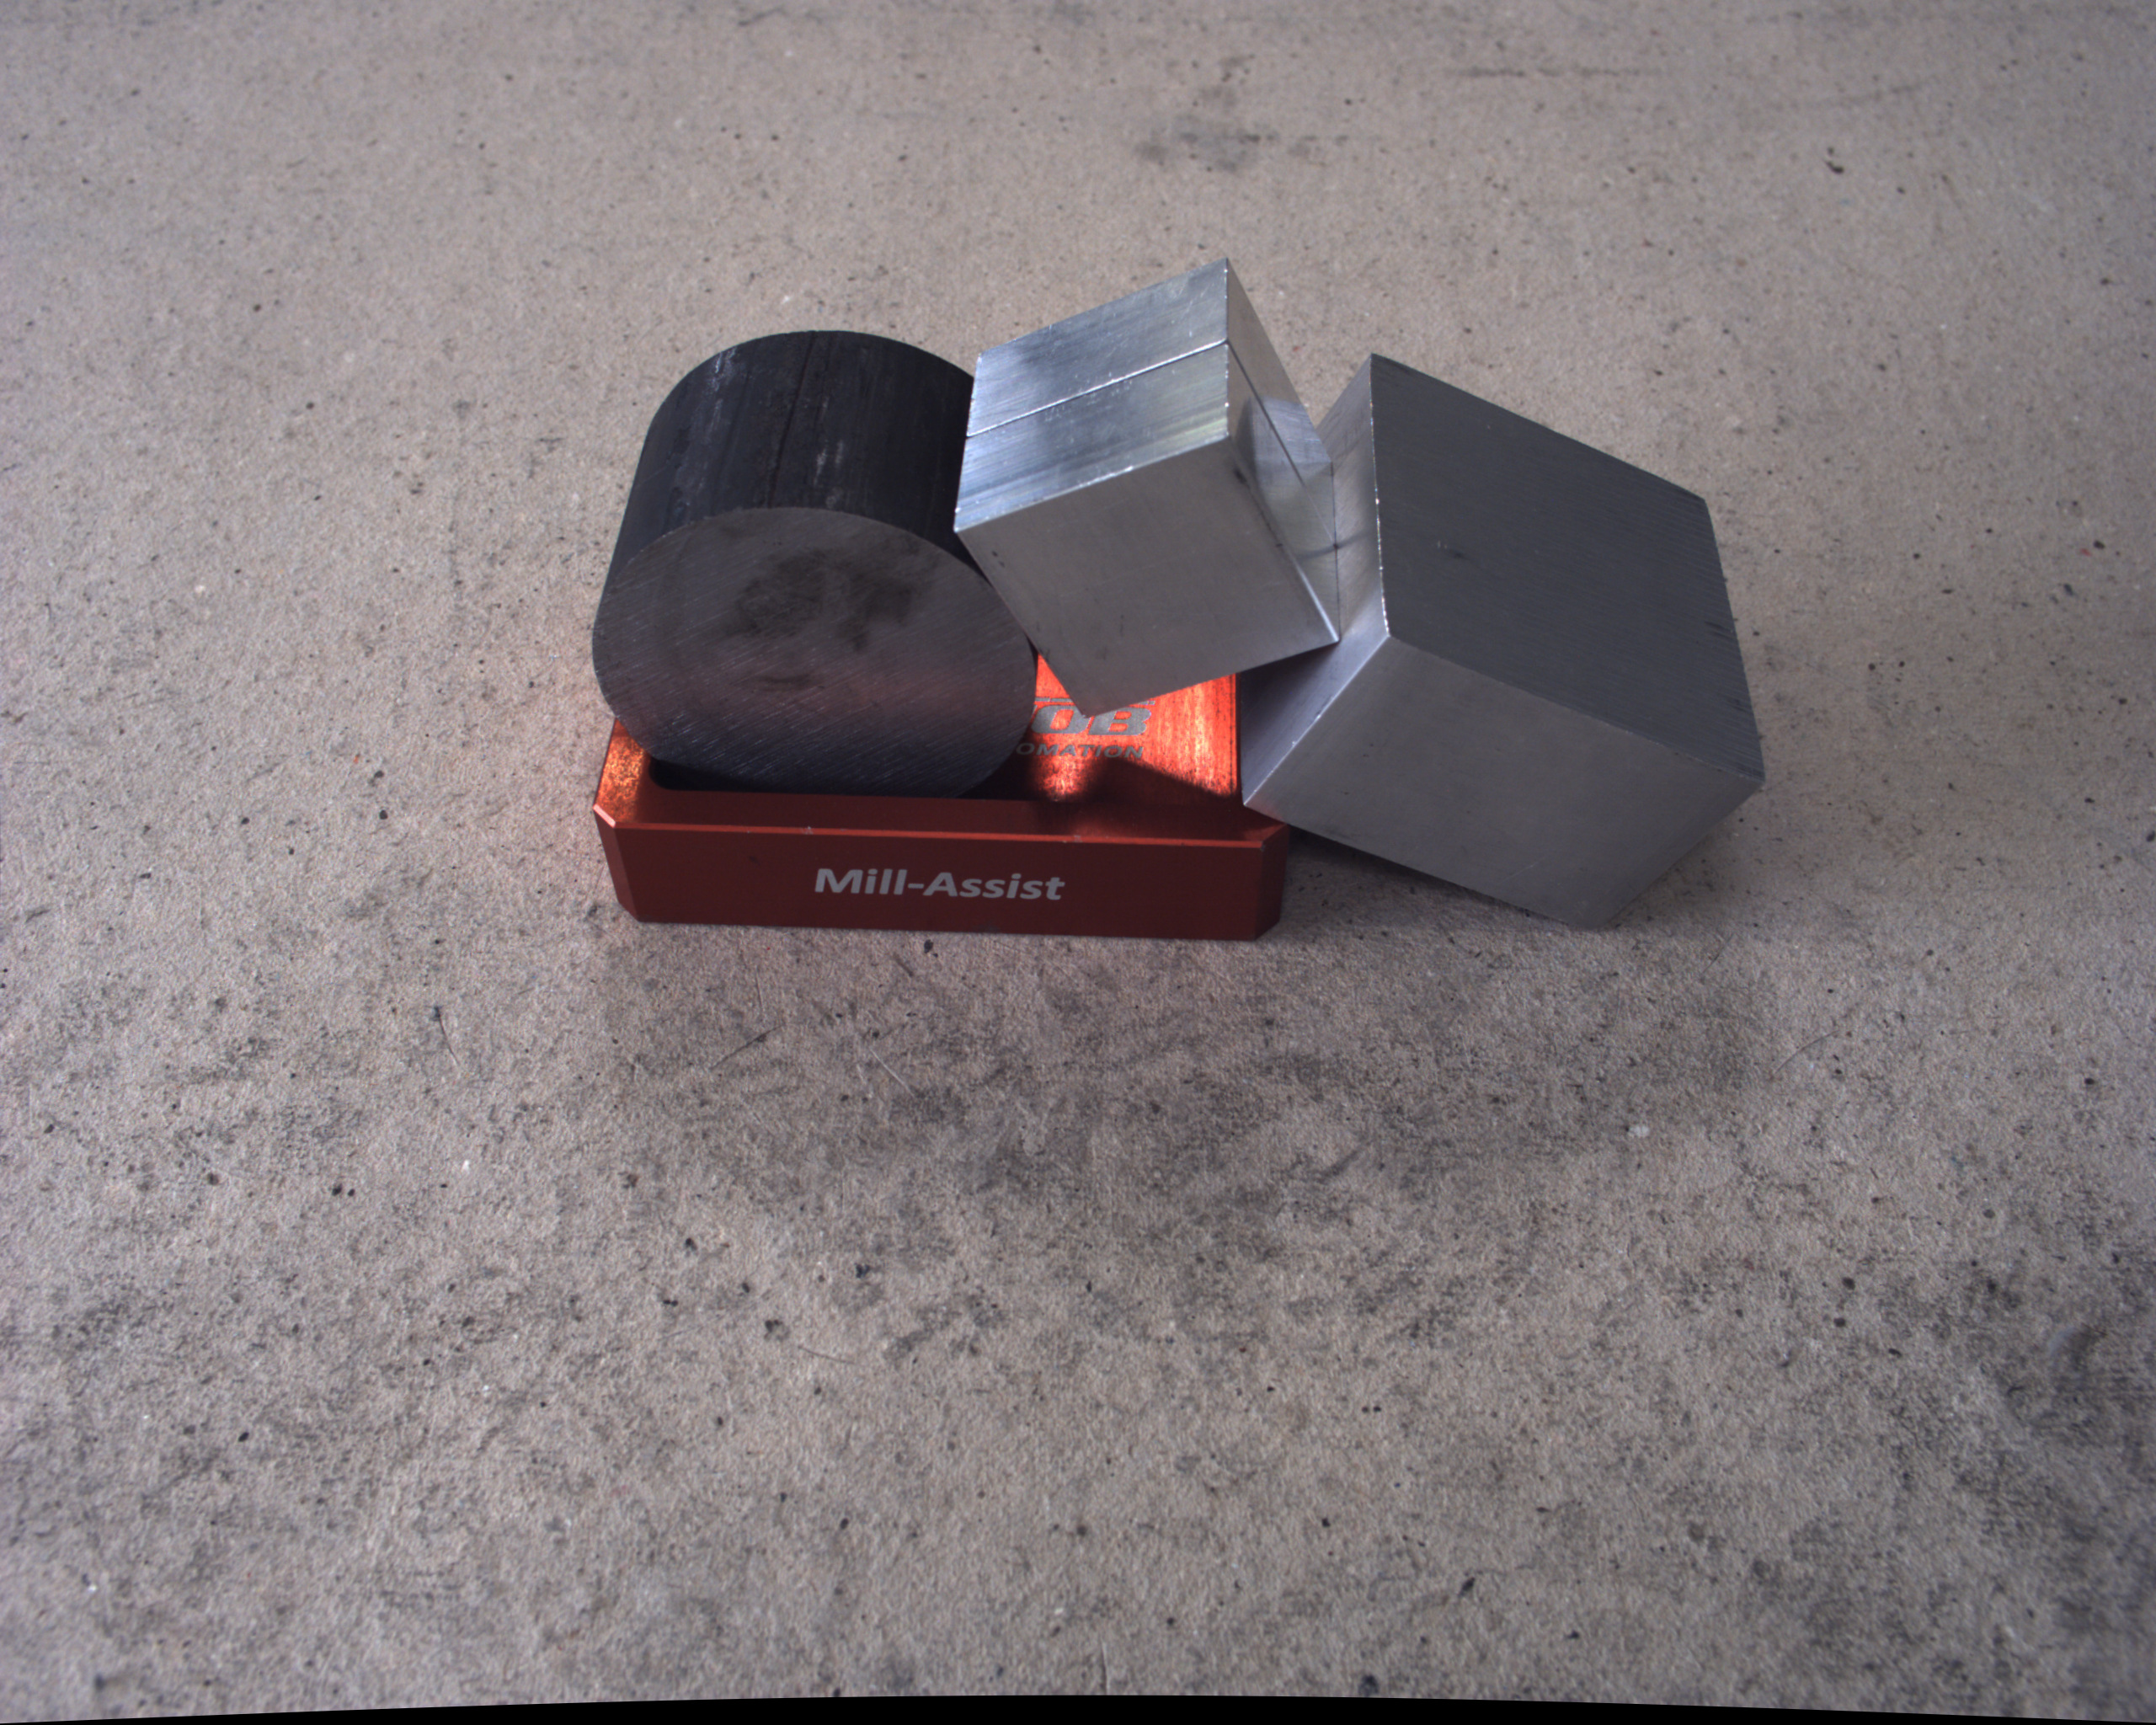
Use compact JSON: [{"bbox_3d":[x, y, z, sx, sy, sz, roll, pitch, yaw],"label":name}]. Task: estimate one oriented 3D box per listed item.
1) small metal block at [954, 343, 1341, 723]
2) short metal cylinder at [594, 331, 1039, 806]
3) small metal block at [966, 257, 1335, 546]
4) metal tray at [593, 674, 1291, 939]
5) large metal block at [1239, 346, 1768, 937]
[{"bbox_3d":[0.013,-0.056,0.367,0.050,0.050,0.025,-16,45,21],"label":"small metal block"},{"bbox_3d":[-0.047,-0.053,0.396,0.081,0.080,0.050,1,50,0],"label":"short metal cylinder"},{"bbox_3d":[0.014,-0.076,0.384,0.050,0.050,0.025,-16,45,21],"label":"small metal block"},{"bbox_3d":[-0.024,-0.030,0.426,0.131,0.030,0.090,2,50,1],"label":"metal tray"},{"bbox_3d":[0.079,-0.042,0.406,0.080,0.050,0.080,20,48,-18],"label":"large metal block"}]
